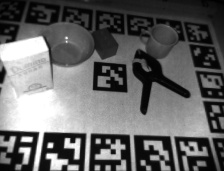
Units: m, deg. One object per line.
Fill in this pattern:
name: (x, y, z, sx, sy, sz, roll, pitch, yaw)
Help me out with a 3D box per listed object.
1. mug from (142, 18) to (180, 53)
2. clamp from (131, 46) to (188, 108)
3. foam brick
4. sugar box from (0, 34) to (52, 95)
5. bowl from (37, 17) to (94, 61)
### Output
mug: (0.148, -0.167, 0.705, 0.117, 0.081, 0.093, 28, 61, 0)
clamp: (0.116, -0.047, 0.658, 0.166, 0.036, 0.201, -19, 70, -18)
foam brick: (-0.022, -0.144, 0.683, 0.053, 0.051, 0.077, -23, 71, -20)
sugar box: (-0.197, -0.043, 0.518, 0.093, 0.176, 0.045, -20, 70, -21)
bowl: (-0.136, -0.130, 0.643, 0.162, 0.055, 0.161, 6, 62, -10)
